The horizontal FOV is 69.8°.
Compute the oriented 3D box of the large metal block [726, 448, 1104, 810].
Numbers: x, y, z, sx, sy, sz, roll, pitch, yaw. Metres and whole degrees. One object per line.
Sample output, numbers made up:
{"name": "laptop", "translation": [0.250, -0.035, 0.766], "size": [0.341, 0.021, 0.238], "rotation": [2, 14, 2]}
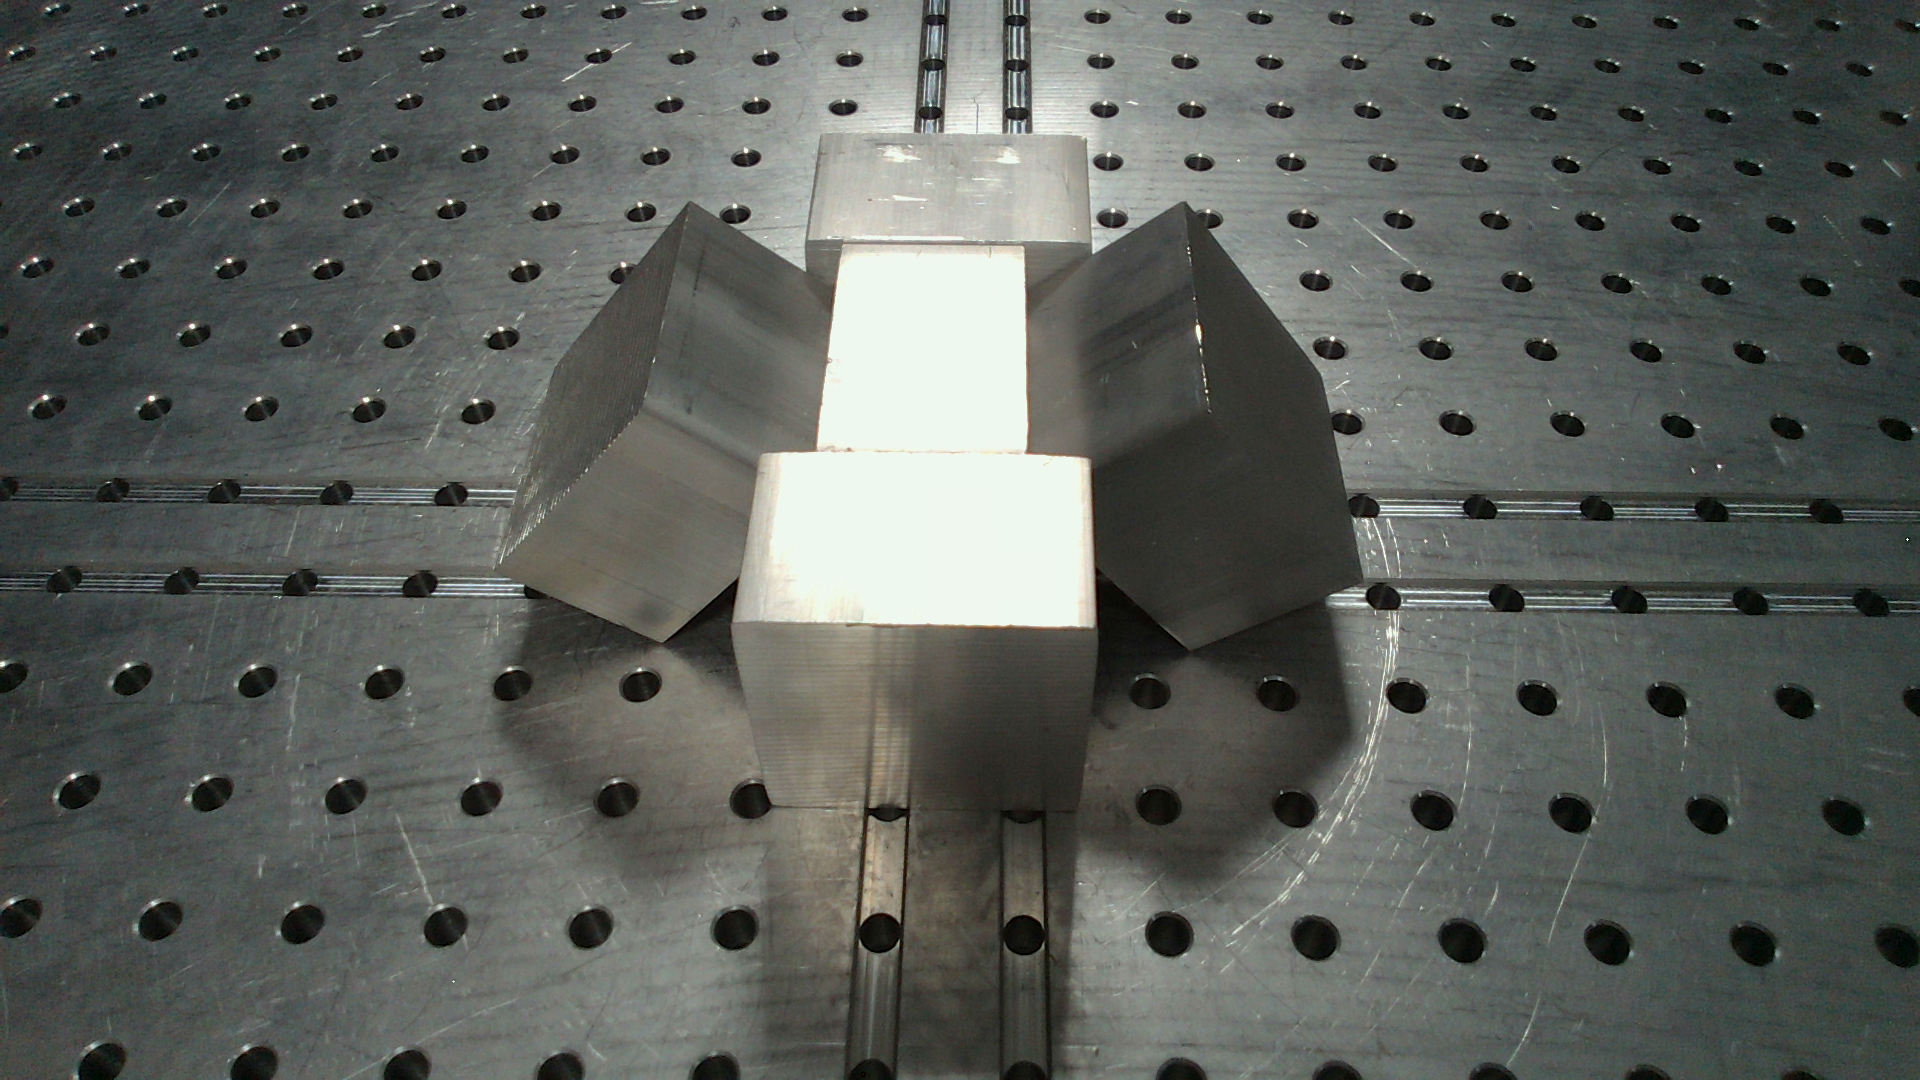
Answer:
{"name": "large metal block", "translation": [-0.009, 0.024, 0.337], "size": [0.080, 0.080, 0.050], "rotation": [1, 50, 1]}

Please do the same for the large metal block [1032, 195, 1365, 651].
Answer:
{"name": "large metal block", "translation": [0.062, -0.030, 0.373], "size": [0.050, 0.080, 0.080], "rotation": [-26, 42, 28]}

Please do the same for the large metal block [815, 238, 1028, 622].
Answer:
{"name": "large metal block", "translation": [-0.008, -0.025, 0.379], "size": [0.050, 0.080, 0.080], "rotation": [1, 50, 1]}

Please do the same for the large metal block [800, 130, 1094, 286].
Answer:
{"name": "large metal block", "translation": [-0.003, -0.076, 0.421], "size": [0.080, 0.080, 0.050], "rotation": [1, 50, 1]}

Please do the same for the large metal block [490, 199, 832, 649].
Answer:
{"name": "large metal block", "translation": [-0.078, -0.030, 0.376], "size": [0.050, 0.080, 0.080], "rotation": [28, 44, -28]}
